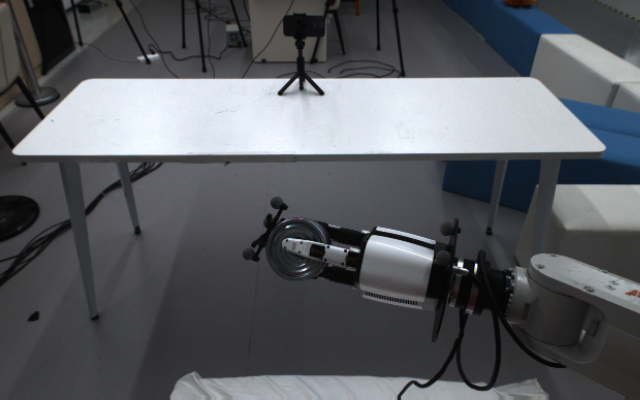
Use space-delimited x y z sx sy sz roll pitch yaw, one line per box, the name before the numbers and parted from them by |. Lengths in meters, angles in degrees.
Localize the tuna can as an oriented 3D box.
tuna can | -0.025 0.069 0.646 0.085 0.085 0.034 9 -4 10
